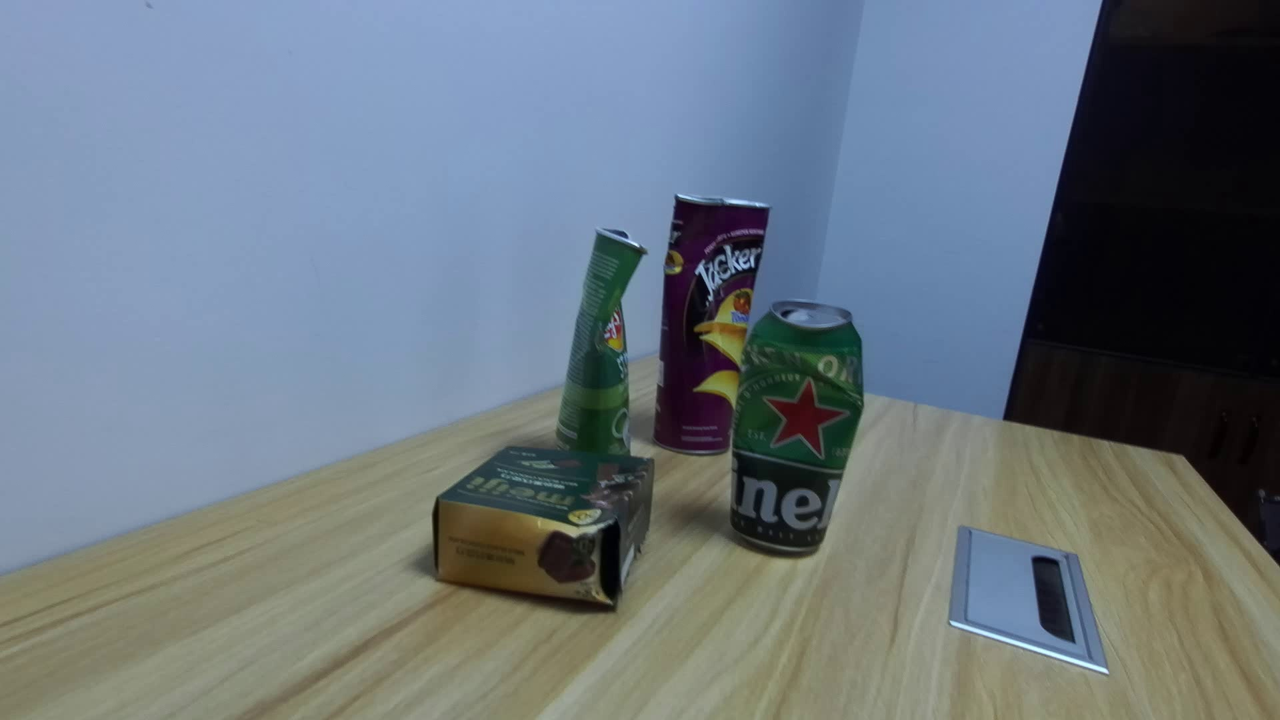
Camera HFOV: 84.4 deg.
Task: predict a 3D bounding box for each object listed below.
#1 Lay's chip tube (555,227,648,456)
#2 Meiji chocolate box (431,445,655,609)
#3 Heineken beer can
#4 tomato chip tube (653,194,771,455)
[{"bbox_3d":[-0.029,-0.002,0.559,0.069,0.201,0.077,-4,20,-38],"label":"Lay's chip tube"},{"bbox_3d":[-0.056,0.098,0.444,0.115,0.058,0.123,6,12,11],"label":"Meiji chocolate box"},{"bbox_3d":[0.105,0.047,0.481,0.069,0.168,0.068,-3,17,-26],"label":"Heineken beer can"},{"bbox_3d":[0.062,-0.032,0.659,0.090,0.235,0.078,9,16,3],"label":"tomato chip tube"}]
